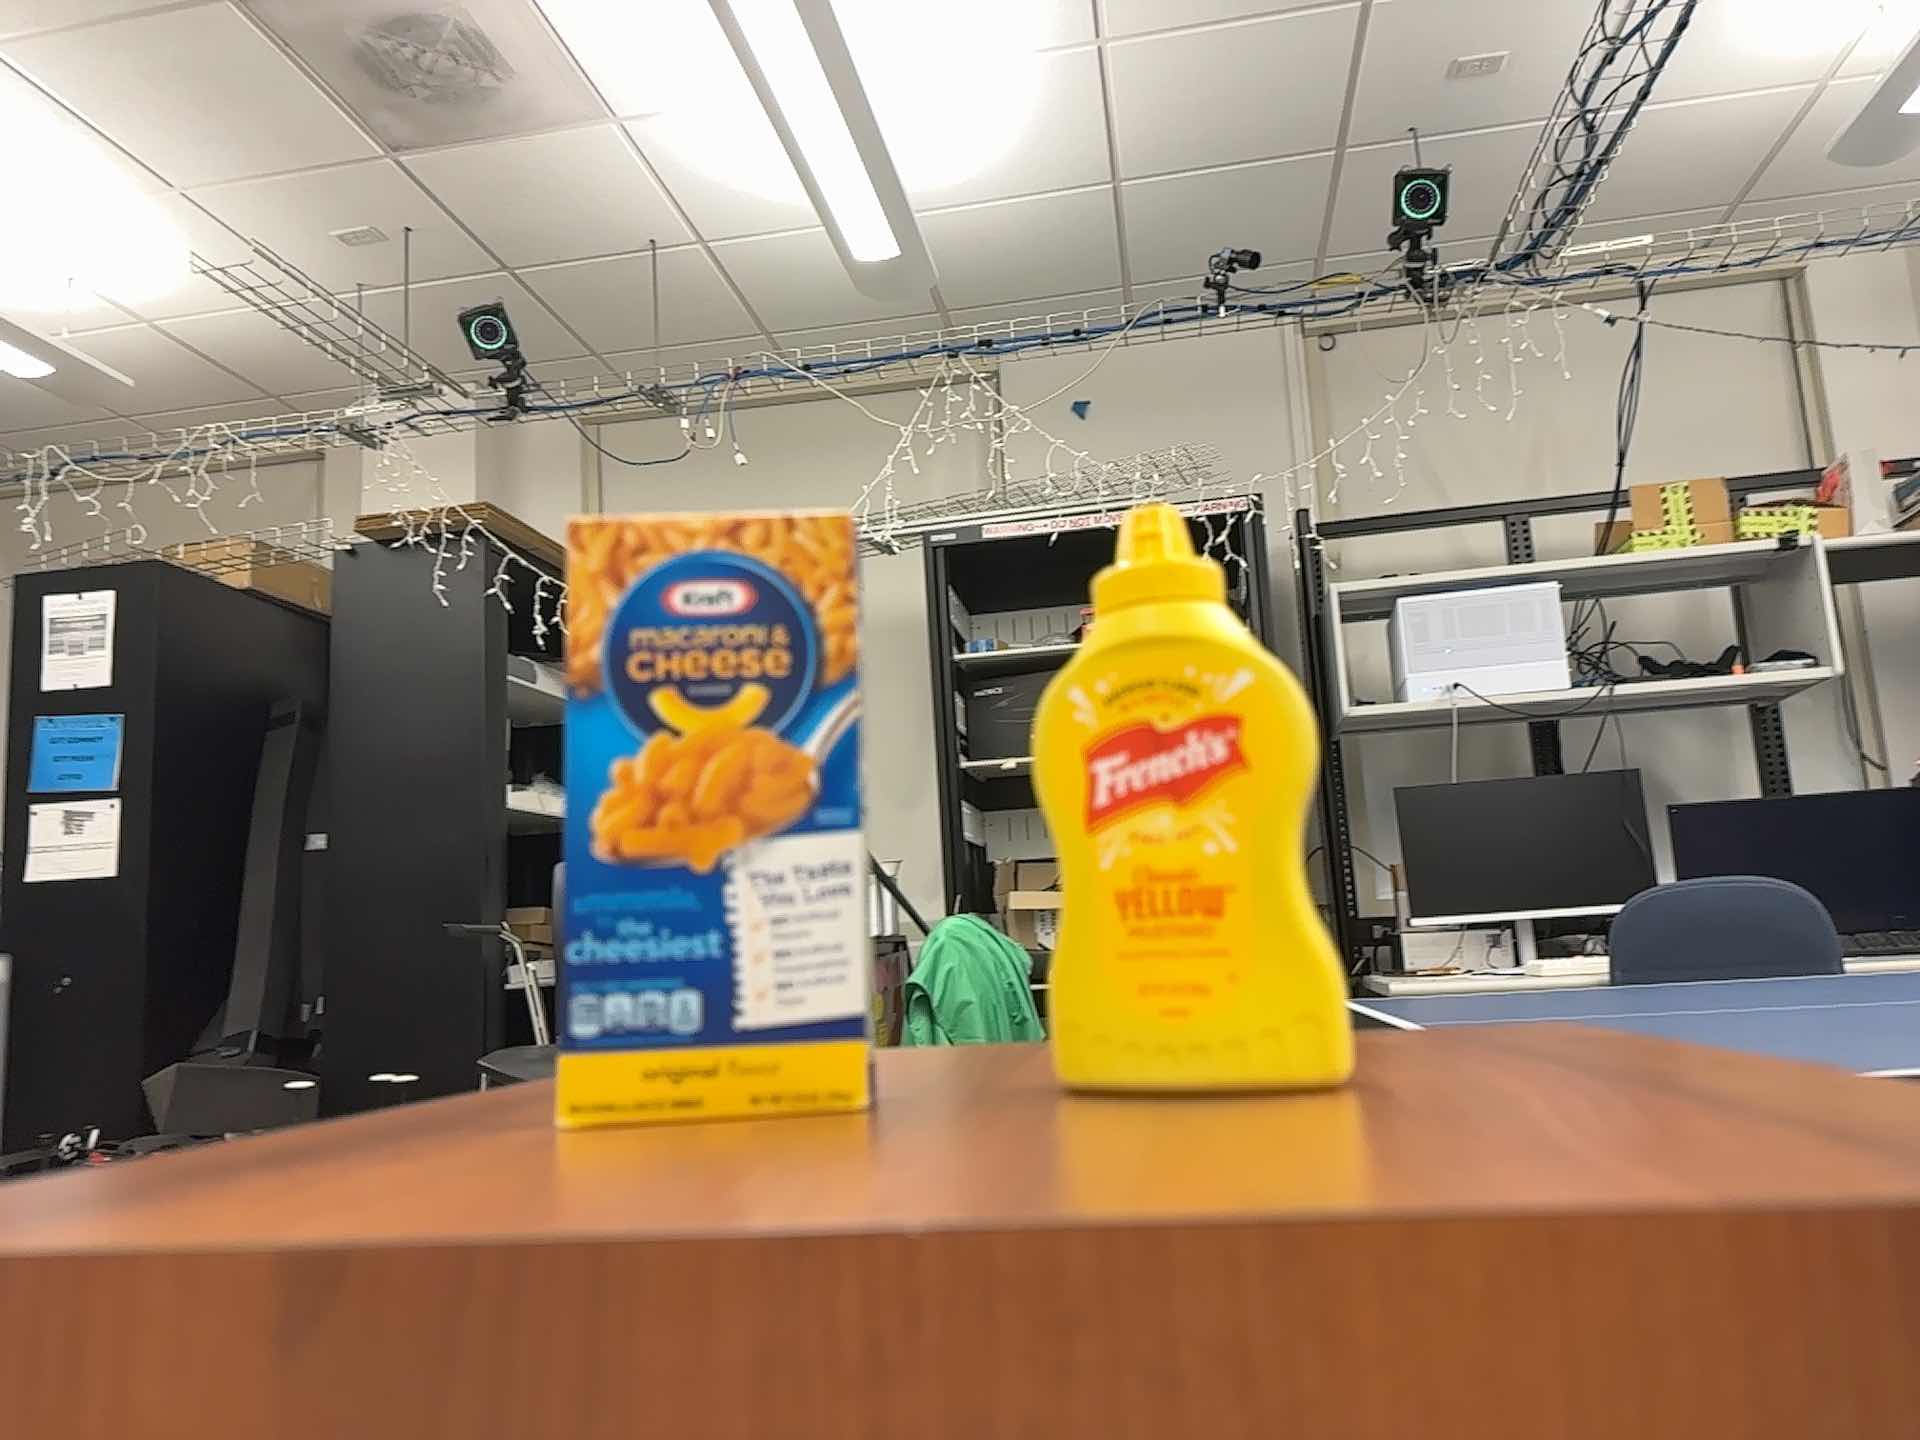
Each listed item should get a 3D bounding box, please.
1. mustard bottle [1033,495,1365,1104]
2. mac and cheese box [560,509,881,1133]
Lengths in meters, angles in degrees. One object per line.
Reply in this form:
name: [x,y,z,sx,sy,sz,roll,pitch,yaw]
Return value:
mustard bottle: [0.067,0.020,0.411,0.092,0.184,0.054,-9,-10,26]
mac and cheese box: [-0.075,0.029,0.418,0.088,0.181,0.035,-4,-9,3]
